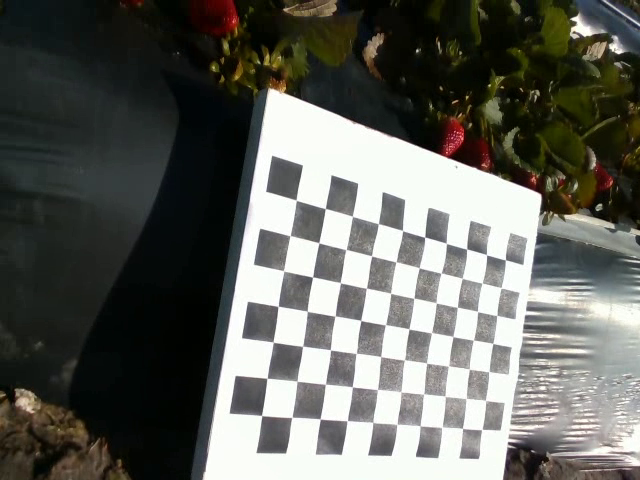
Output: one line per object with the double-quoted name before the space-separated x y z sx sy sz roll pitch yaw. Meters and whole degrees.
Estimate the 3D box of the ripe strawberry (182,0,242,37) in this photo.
"ripe strawberry" -0.080 -0.160 0.524 0.042 0.039 0.049 -36 48 -25
